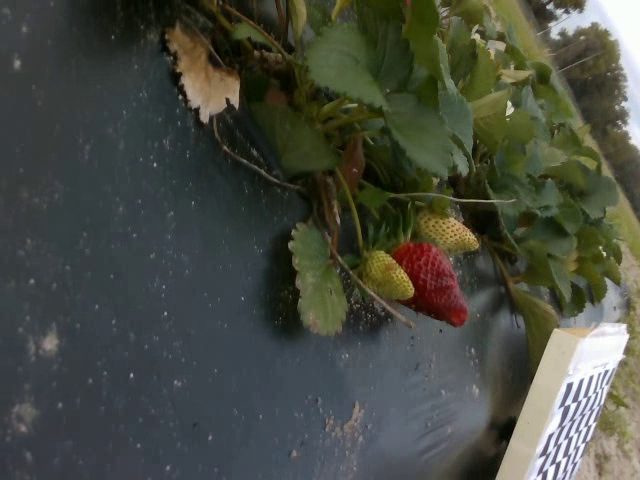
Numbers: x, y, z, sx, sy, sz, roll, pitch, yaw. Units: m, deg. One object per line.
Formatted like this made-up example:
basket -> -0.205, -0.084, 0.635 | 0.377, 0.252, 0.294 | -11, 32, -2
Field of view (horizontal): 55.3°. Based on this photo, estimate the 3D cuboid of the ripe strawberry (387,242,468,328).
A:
ripe strawberry -> 0.059, 0.028, 0.323 | 0.046, 0.046, 0.059 | 4, 37, -53
